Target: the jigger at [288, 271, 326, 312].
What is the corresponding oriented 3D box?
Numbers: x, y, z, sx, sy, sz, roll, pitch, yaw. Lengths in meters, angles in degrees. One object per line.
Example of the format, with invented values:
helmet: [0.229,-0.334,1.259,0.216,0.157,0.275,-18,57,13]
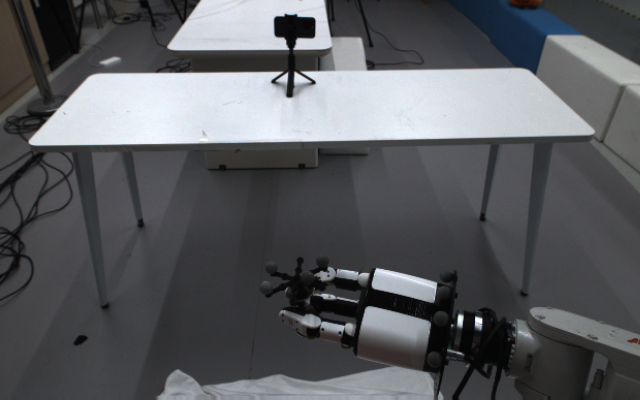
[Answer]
jigger: [-0.019,0.146,0.654,0.043,0.071,0.043,-10,32,6]
